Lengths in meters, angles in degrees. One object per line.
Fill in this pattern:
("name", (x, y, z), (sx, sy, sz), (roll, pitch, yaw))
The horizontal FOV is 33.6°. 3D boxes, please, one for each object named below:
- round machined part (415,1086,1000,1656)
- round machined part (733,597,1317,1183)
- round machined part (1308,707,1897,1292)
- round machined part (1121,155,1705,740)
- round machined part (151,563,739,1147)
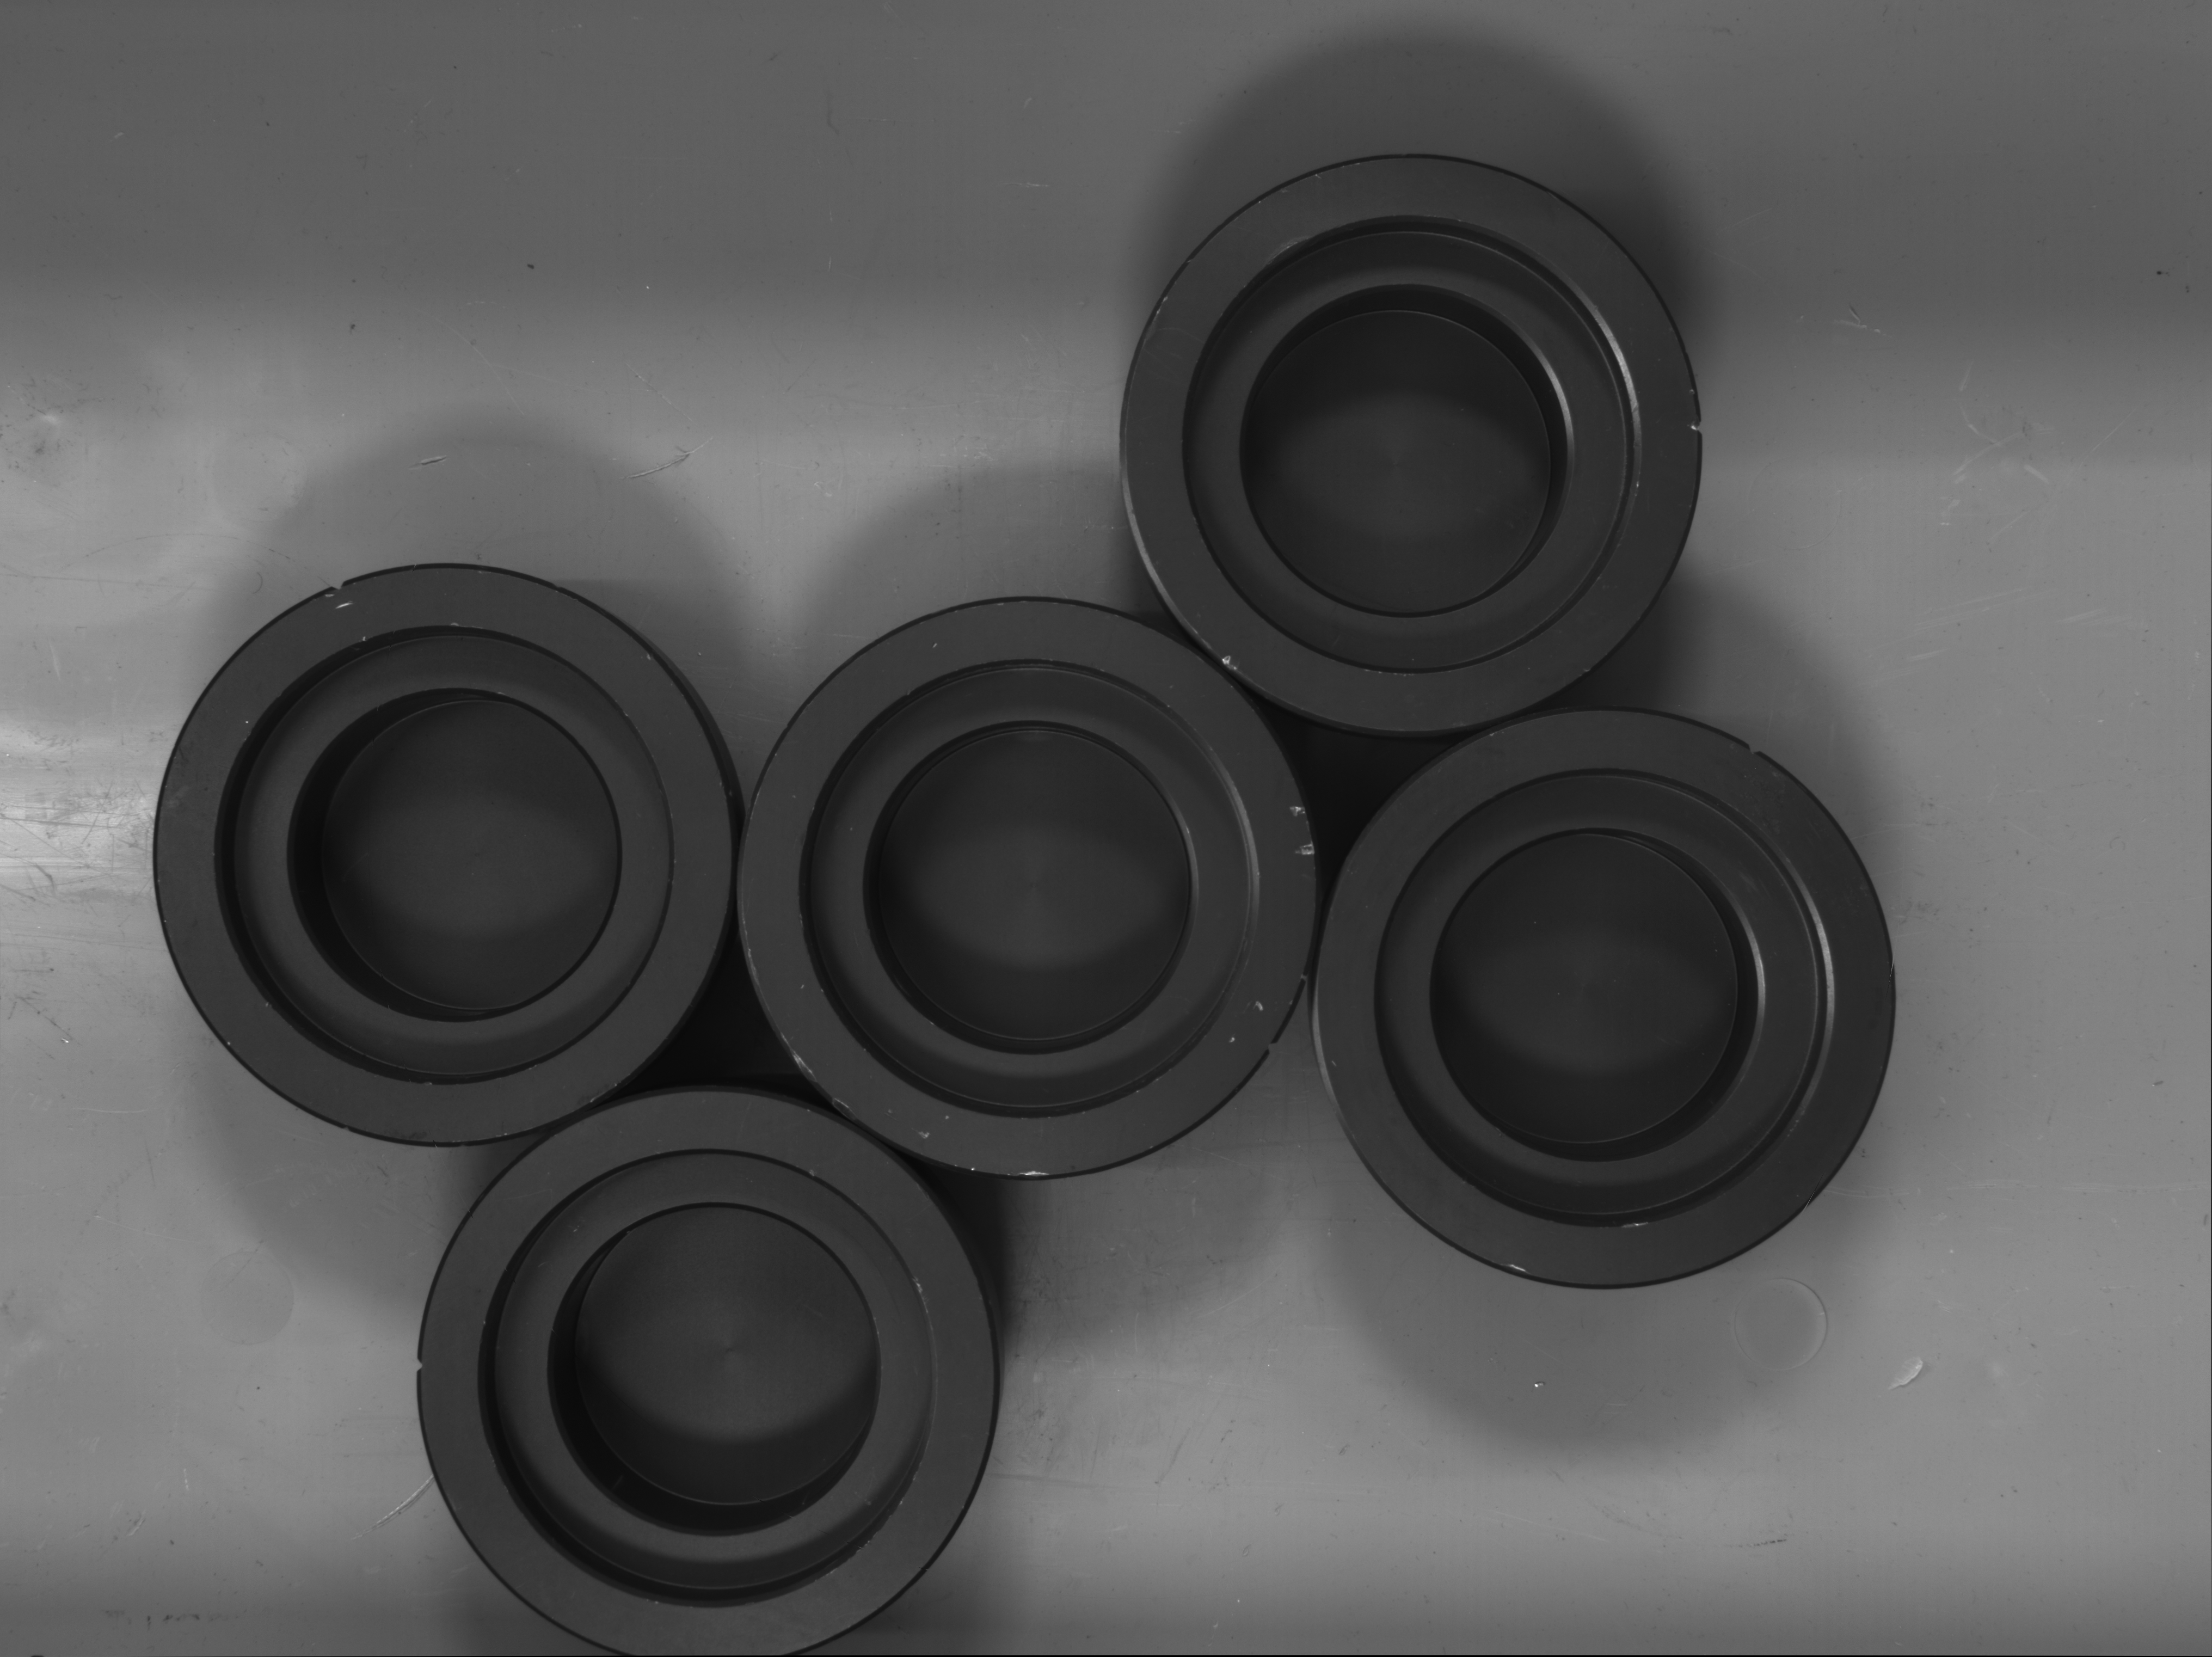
("round machined part", (-0.067, 0.092, 0.634), (0.098, 0.042, 0.098), (0, 90, 0))
("round machined part", (-0.013, 0.010, 0.634), (0.098, 0.042, 0.098), (0, 90, 0))
("round machined part", (0.084, 0.029, 0.635), (0.098, 0.042, 0.098), (0, 90, 0))
("round machined part", (0.052, -0.064, 0.635), (0.098, 0.042, 0.098), (0, 90, 0))
("round machined part", (-0.111, 0.004, 0.635), (0.098, 0.042, 0.098), (0, 90, 0))
